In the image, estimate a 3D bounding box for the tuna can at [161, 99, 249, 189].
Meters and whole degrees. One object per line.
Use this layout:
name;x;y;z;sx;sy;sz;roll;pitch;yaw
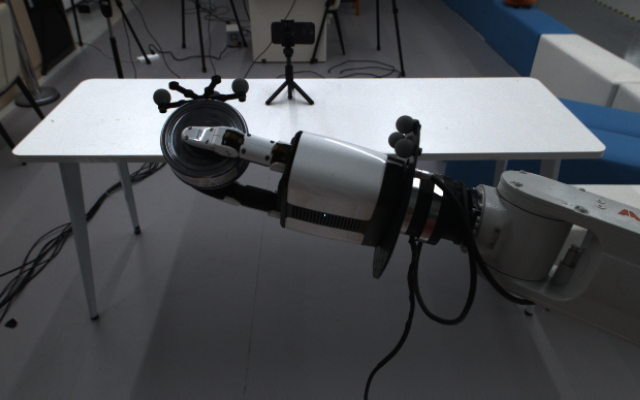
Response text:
tuna can;-0.107;-0.051;0.476;0.085;0.034;0.085;0;72;-2
